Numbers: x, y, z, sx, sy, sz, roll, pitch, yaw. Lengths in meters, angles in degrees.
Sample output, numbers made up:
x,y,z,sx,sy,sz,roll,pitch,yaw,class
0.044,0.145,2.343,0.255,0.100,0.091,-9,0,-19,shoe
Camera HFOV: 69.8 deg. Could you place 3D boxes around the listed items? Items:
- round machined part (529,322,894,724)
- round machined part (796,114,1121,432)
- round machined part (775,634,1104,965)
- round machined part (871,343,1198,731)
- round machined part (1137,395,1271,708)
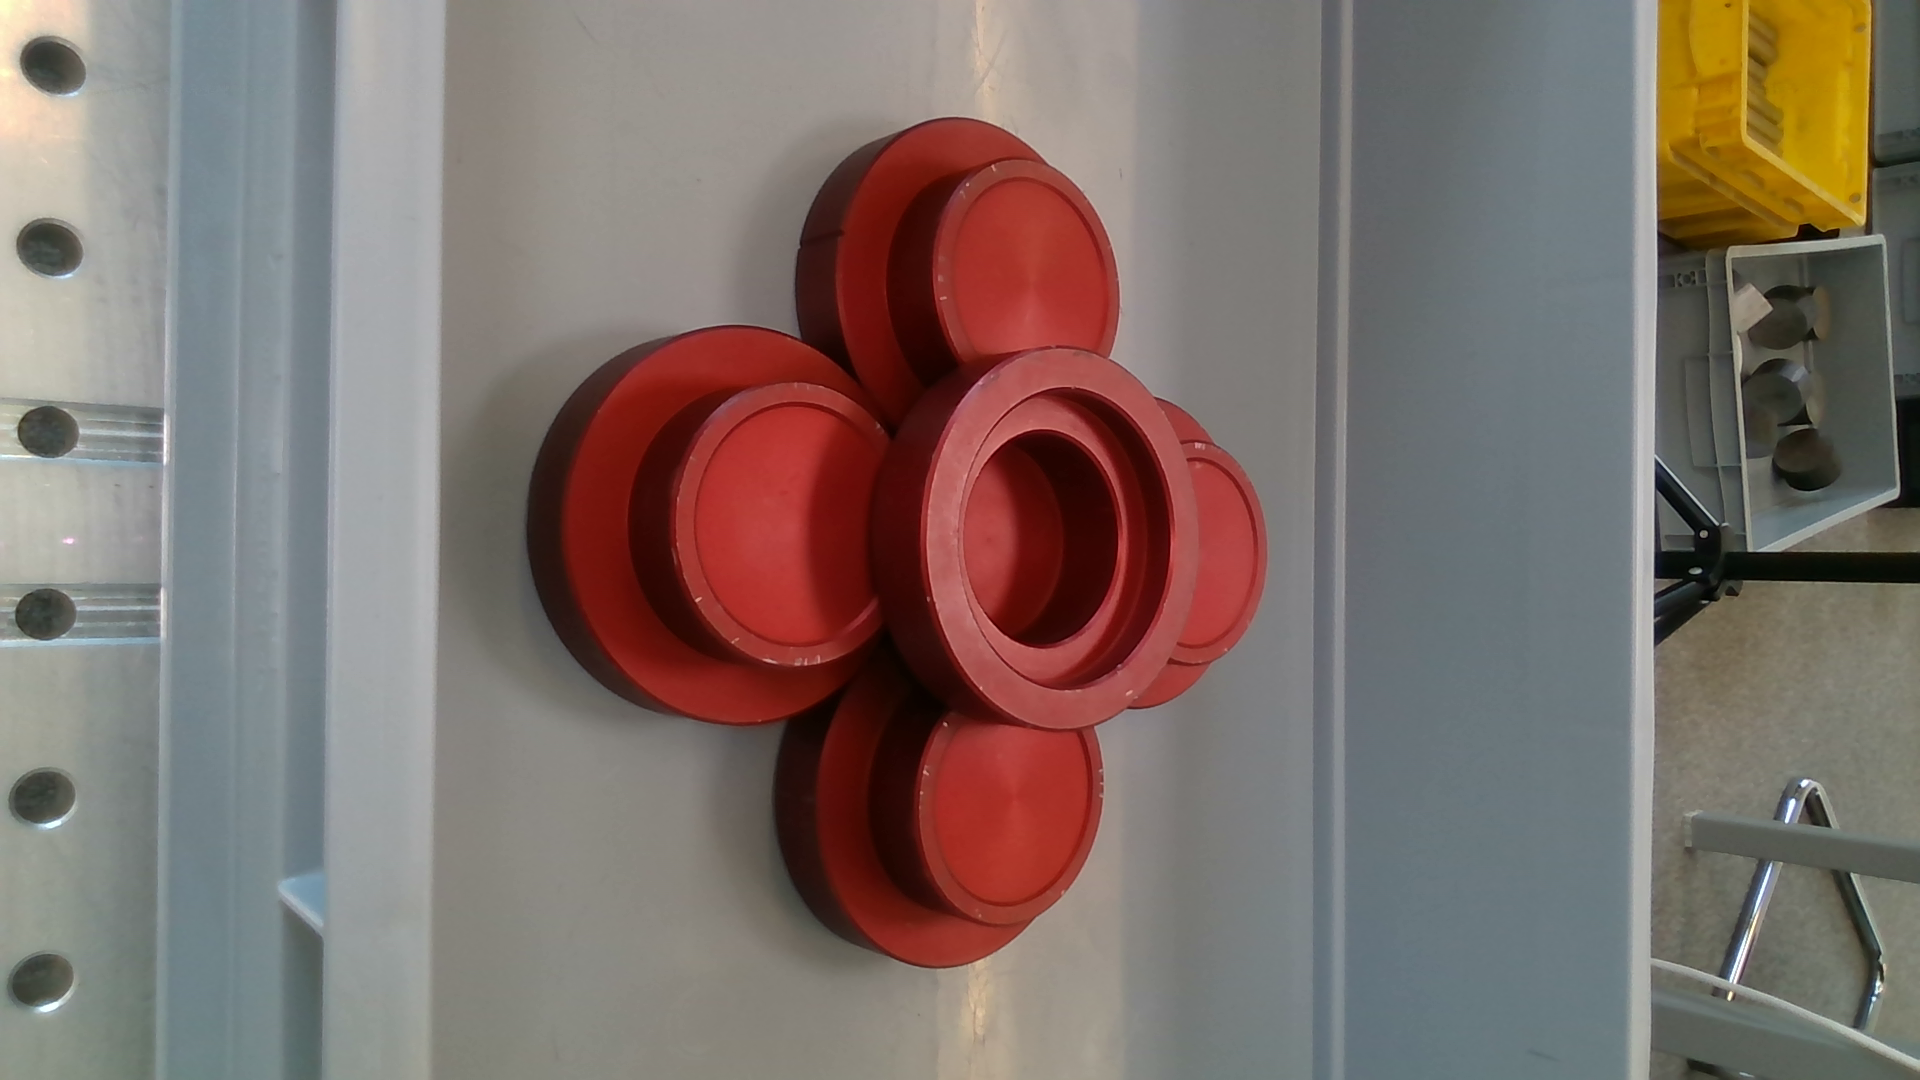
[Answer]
x,y,z,sx,sy,sz,roll,pitch,yaw,class
-0.050,-0.004,0.336,0.098,0.042,0.098,-1,92,-42,round machined part
0.007,-0.069,0.383,0.098,0.042,0.098,0,90,-40,round machined part
0.002,0.068,0.379,0.098,0.042,0.098,0,90,-40,round machined part
0.015,-0.001,0.364,0.098,0.042,0.098,0,90,-40,round machined part
0.059,0.003,0.426,0.098,0.042,0.098,0,90,-40,round machined part
